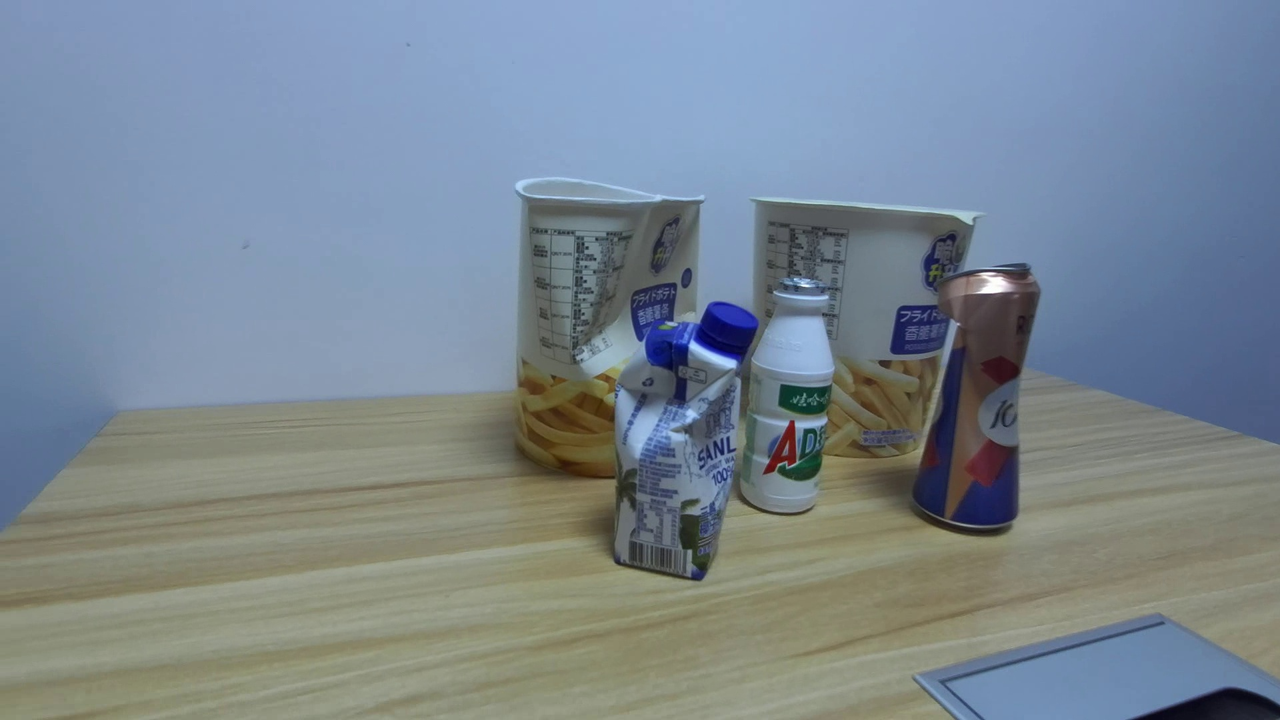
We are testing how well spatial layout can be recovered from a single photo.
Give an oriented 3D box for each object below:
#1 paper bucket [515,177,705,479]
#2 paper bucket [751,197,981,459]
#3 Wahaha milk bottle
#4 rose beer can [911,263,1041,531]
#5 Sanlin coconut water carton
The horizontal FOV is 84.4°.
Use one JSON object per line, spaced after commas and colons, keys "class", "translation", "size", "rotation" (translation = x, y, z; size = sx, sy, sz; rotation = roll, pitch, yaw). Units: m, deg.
{"class": "paper bucket", "translation": [-0.017, -0.031, 0.533], "size": [0.148, 0.199, 0.217], "rotation": [2, 15, -7]}
{"class": "paper bucket", "translation": [0.177, -0.033, 0.600], "size": [0.198, 0.194, 0.198], "rotation": [3, 14, 0]}
{"class": "Wahaha milk bottle", "translation": [0.096, 0.023, 0.452], "size": [0.053, 0.147, 0.053], "rotation": [4, 14, -1]}
{"class": "rose beer can", "translation": [0.217, 0.024, 0.451], "size": [0.070, 0.168, 0.069], "rotation": [-1, 11, -5]}
{"class": "Sanlin coconut water carton", "translation": [0.021, 0.040, 0.378], "size": [0.069, 0.143, 0.061], "rotation": [10, 17, 16]}
